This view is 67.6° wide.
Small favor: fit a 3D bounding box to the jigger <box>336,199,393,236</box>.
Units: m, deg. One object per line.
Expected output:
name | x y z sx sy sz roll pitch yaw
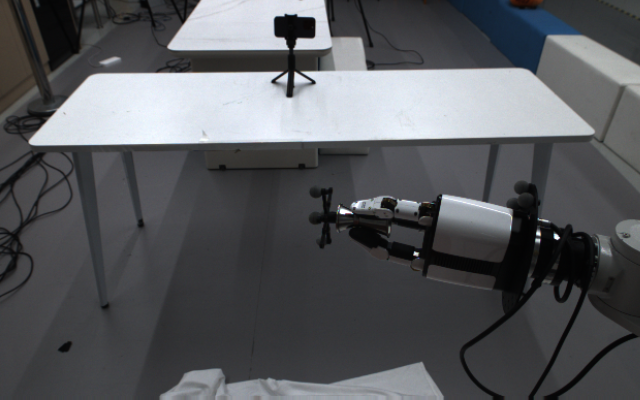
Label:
jigger | 0.065 0.022 0.638 0.071 0.043 0.043 2 34 13
